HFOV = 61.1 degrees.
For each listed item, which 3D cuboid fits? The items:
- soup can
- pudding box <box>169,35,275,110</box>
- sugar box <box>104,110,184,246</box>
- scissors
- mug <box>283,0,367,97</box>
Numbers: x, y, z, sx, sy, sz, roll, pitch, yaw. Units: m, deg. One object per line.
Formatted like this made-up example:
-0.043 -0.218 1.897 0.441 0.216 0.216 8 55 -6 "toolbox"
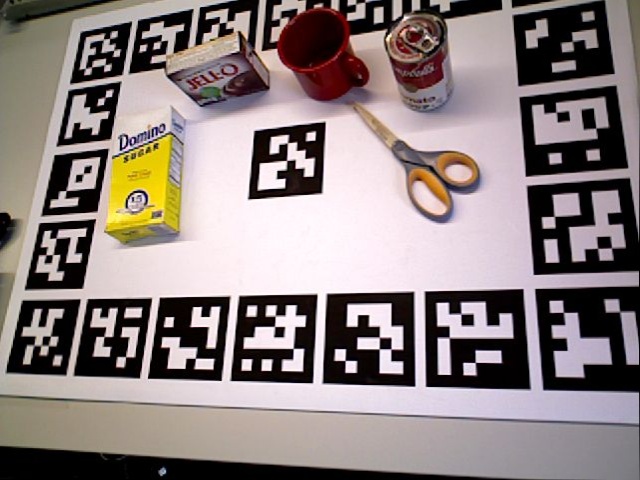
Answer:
0.125 -0.193 0.626 0.068 0.102 0.067 -6 70 16 "soup can"
-0.127 -0.220 0.714 0.114 0.090 0.038 -12 76 14 "pudding box"
-0.240 -0.084 0.745 0.093 0.045 0.175 -6 74 19 "sugar box"
0.108 -0.090 0.639 0.088 0.016 0.202 -47 67 11 "scissors"
0.017 -0.225 0.675 0.094 0.081 0.116 -38 65 6 "mug"
